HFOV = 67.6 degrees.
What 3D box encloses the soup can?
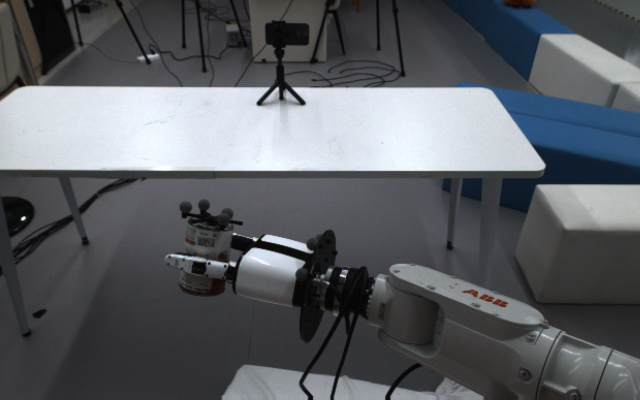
[{"bbox_3d":[-0.165,0.083,0.707,0.067,0.101,0.067,10,9,-2],"label":"soup can"}]
